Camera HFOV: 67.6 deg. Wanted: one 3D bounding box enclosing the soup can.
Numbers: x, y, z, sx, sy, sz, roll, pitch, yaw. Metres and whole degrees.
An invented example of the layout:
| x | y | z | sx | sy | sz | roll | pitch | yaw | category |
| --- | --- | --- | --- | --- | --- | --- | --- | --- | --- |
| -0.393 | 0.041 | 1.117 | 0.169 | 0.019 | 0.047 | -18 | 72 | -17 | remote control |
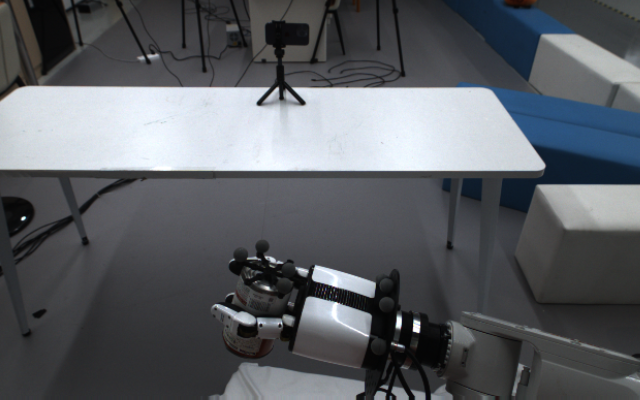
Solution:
| x | y | z | sx | sy | sz | roll | pitch | yaw | category |
| --- | --- | --- | --- | --- | --- | --- | --- | --- | --- |
| -0.075 | 0.136 | 0.599 | 0.067 | 0.101 | 0.067 | 17 | 21 | -7 | soup can |
